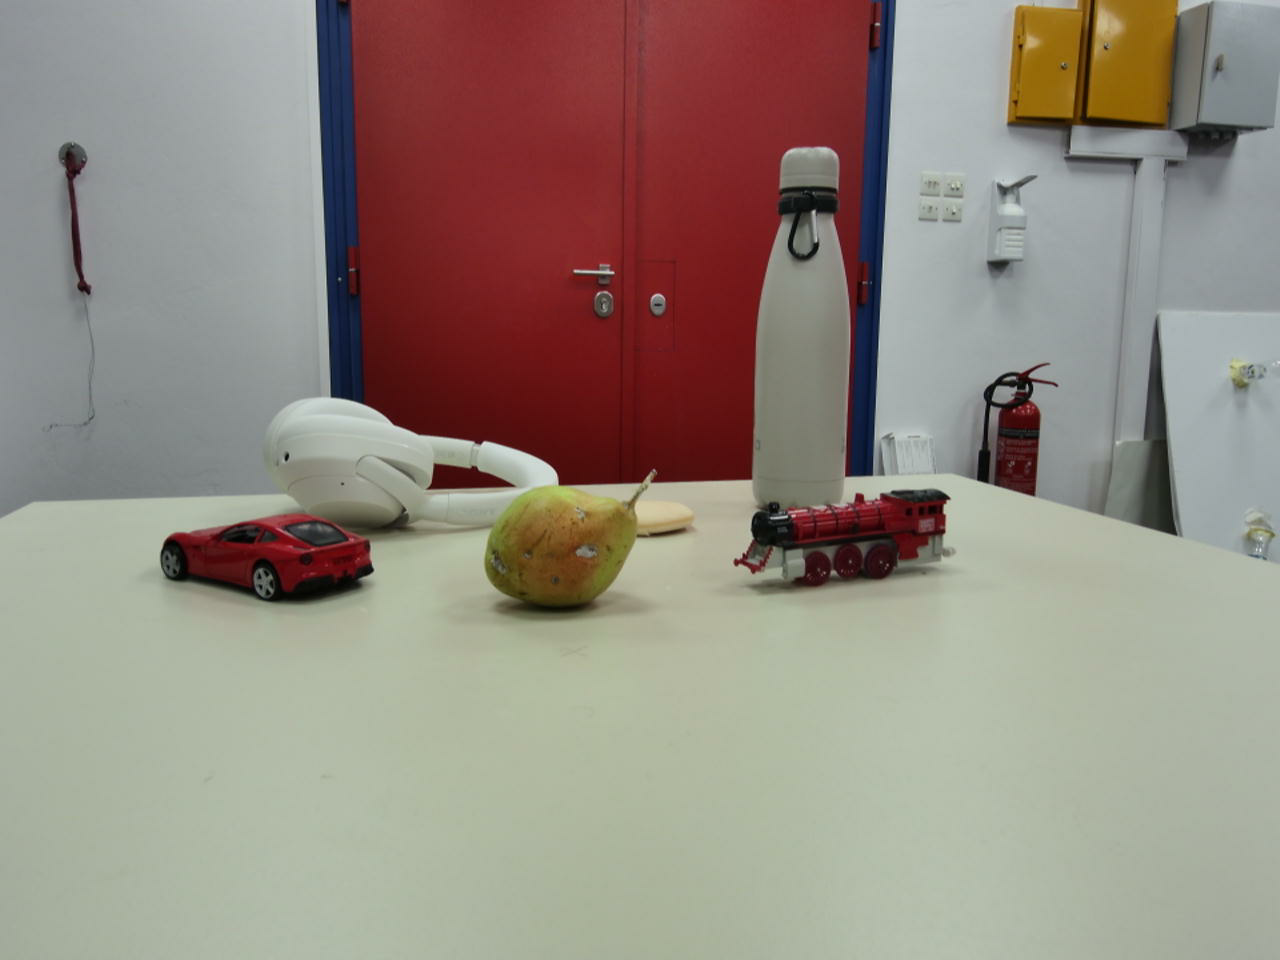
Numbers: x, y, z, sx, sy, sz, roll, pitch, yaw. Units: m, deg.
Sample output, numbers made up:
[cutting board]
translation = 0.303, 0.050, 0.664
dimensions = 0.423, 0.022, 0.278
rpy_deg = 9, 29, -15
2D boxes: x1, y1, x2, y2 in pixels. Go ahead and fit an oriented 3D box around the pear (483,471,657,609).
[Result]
[pear]
translation = -0.040, 0.030, 0.511
dimensions = 0.070, 0.069, 0.068
rpy_deg = 5, 8, 38
